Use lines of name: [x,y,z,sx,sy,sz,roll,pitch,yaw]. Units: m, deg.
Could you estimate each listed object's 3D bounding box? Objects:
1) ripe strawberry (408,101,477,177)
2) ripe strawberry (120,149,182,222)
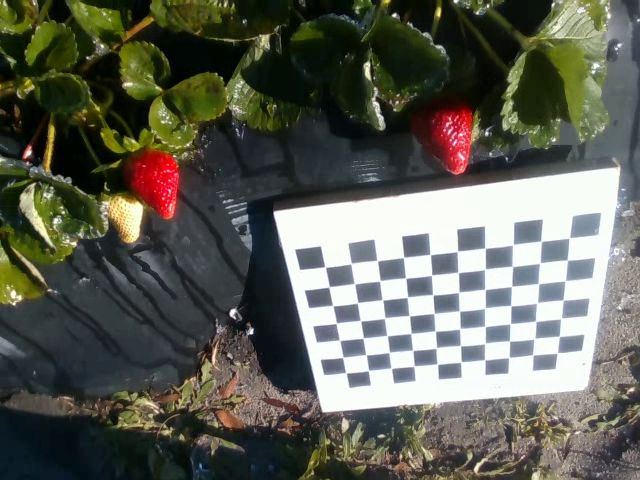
ripe strawberry: [0.095,-0.074,0.439,0.049,0.061,0.044,-13,3,10]
ripe strawberry: [-0.129,-0.040,0.475,0.043,0.061,0.046,-19,-8,14]
